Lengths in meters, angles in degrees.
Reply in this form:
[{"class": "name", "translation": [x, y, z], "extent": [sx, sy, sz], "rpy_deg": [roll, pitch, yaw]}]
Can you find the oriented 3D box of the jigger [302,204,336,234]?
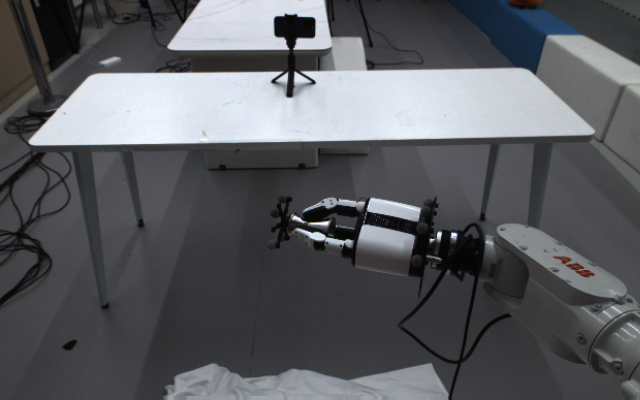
[{"class": "jigger", "translation": [-0.007, 0.041, 0.785], "extent": [0.071, 0.043, 0.043], "rpy_deg": [8, 35, 17]}]
